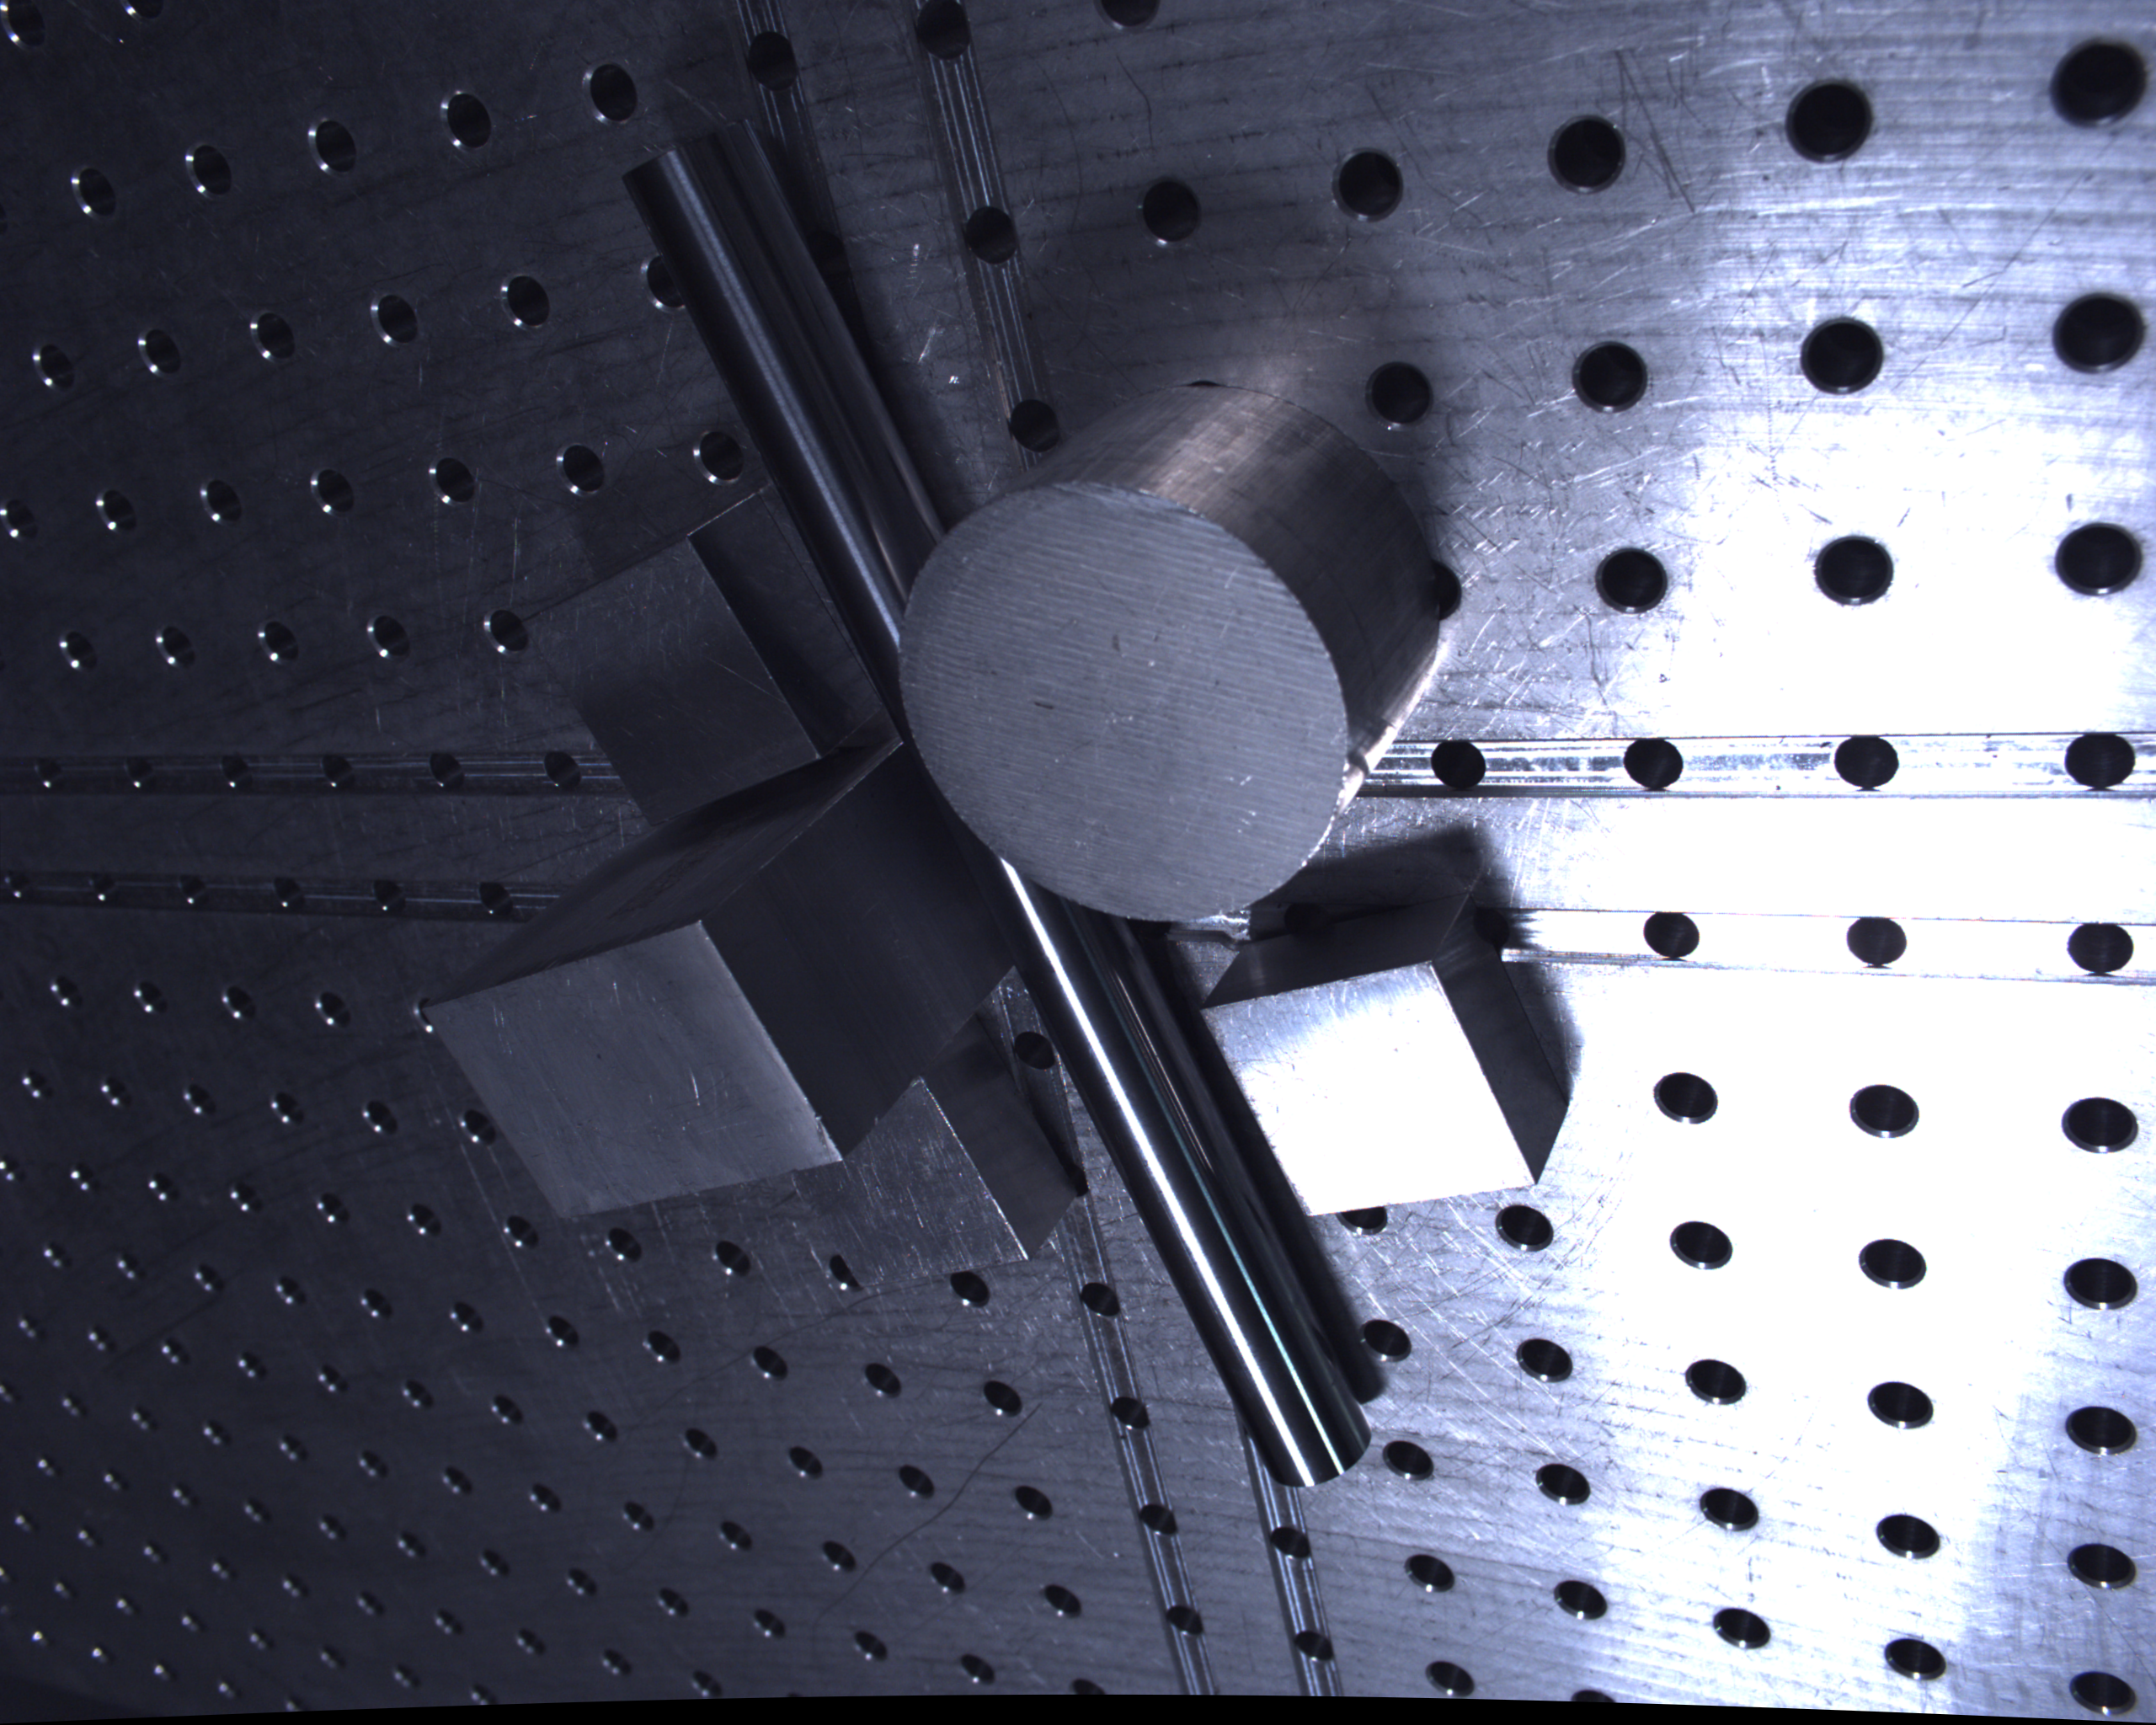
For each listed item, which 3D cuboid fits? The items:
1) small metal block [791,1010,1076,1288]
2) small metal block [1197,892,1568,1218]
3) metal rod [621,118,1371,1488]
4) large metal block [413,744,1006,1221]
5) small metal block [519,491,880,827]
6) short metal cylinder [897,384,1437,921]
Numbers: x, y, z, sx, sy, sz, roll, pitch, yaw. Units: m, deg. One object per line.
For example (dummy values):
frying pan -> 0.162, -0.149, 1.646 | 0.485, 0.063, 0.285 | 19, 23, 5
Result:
small metal block -> -0.037, 0.065, 0.469 | 0.050, 0.025, 0.050 | -17, 110, 34
small metal block -> 0.059, 0.038, 0.402 | 0.050, 0.025, 0.050 | -15, 111, 34
metal rod -> -0.008, 0.002, 0.415 | 0.025, 0.025, 0.299 | -13, 112, 33
large metal block -> -0.070, 0.023, 0.423 | 0.080, 0.080, 0.050 | -16, 110, 34
small metal block -> -0.077, -0.041, 0.425 | 0.050, 0.025, 0.050 | -19, 109, 35
short metal cylinder -> 0.016, -0.037, 0.362 | 0.080, 0.050, 0.079 | 13, 124, 20
